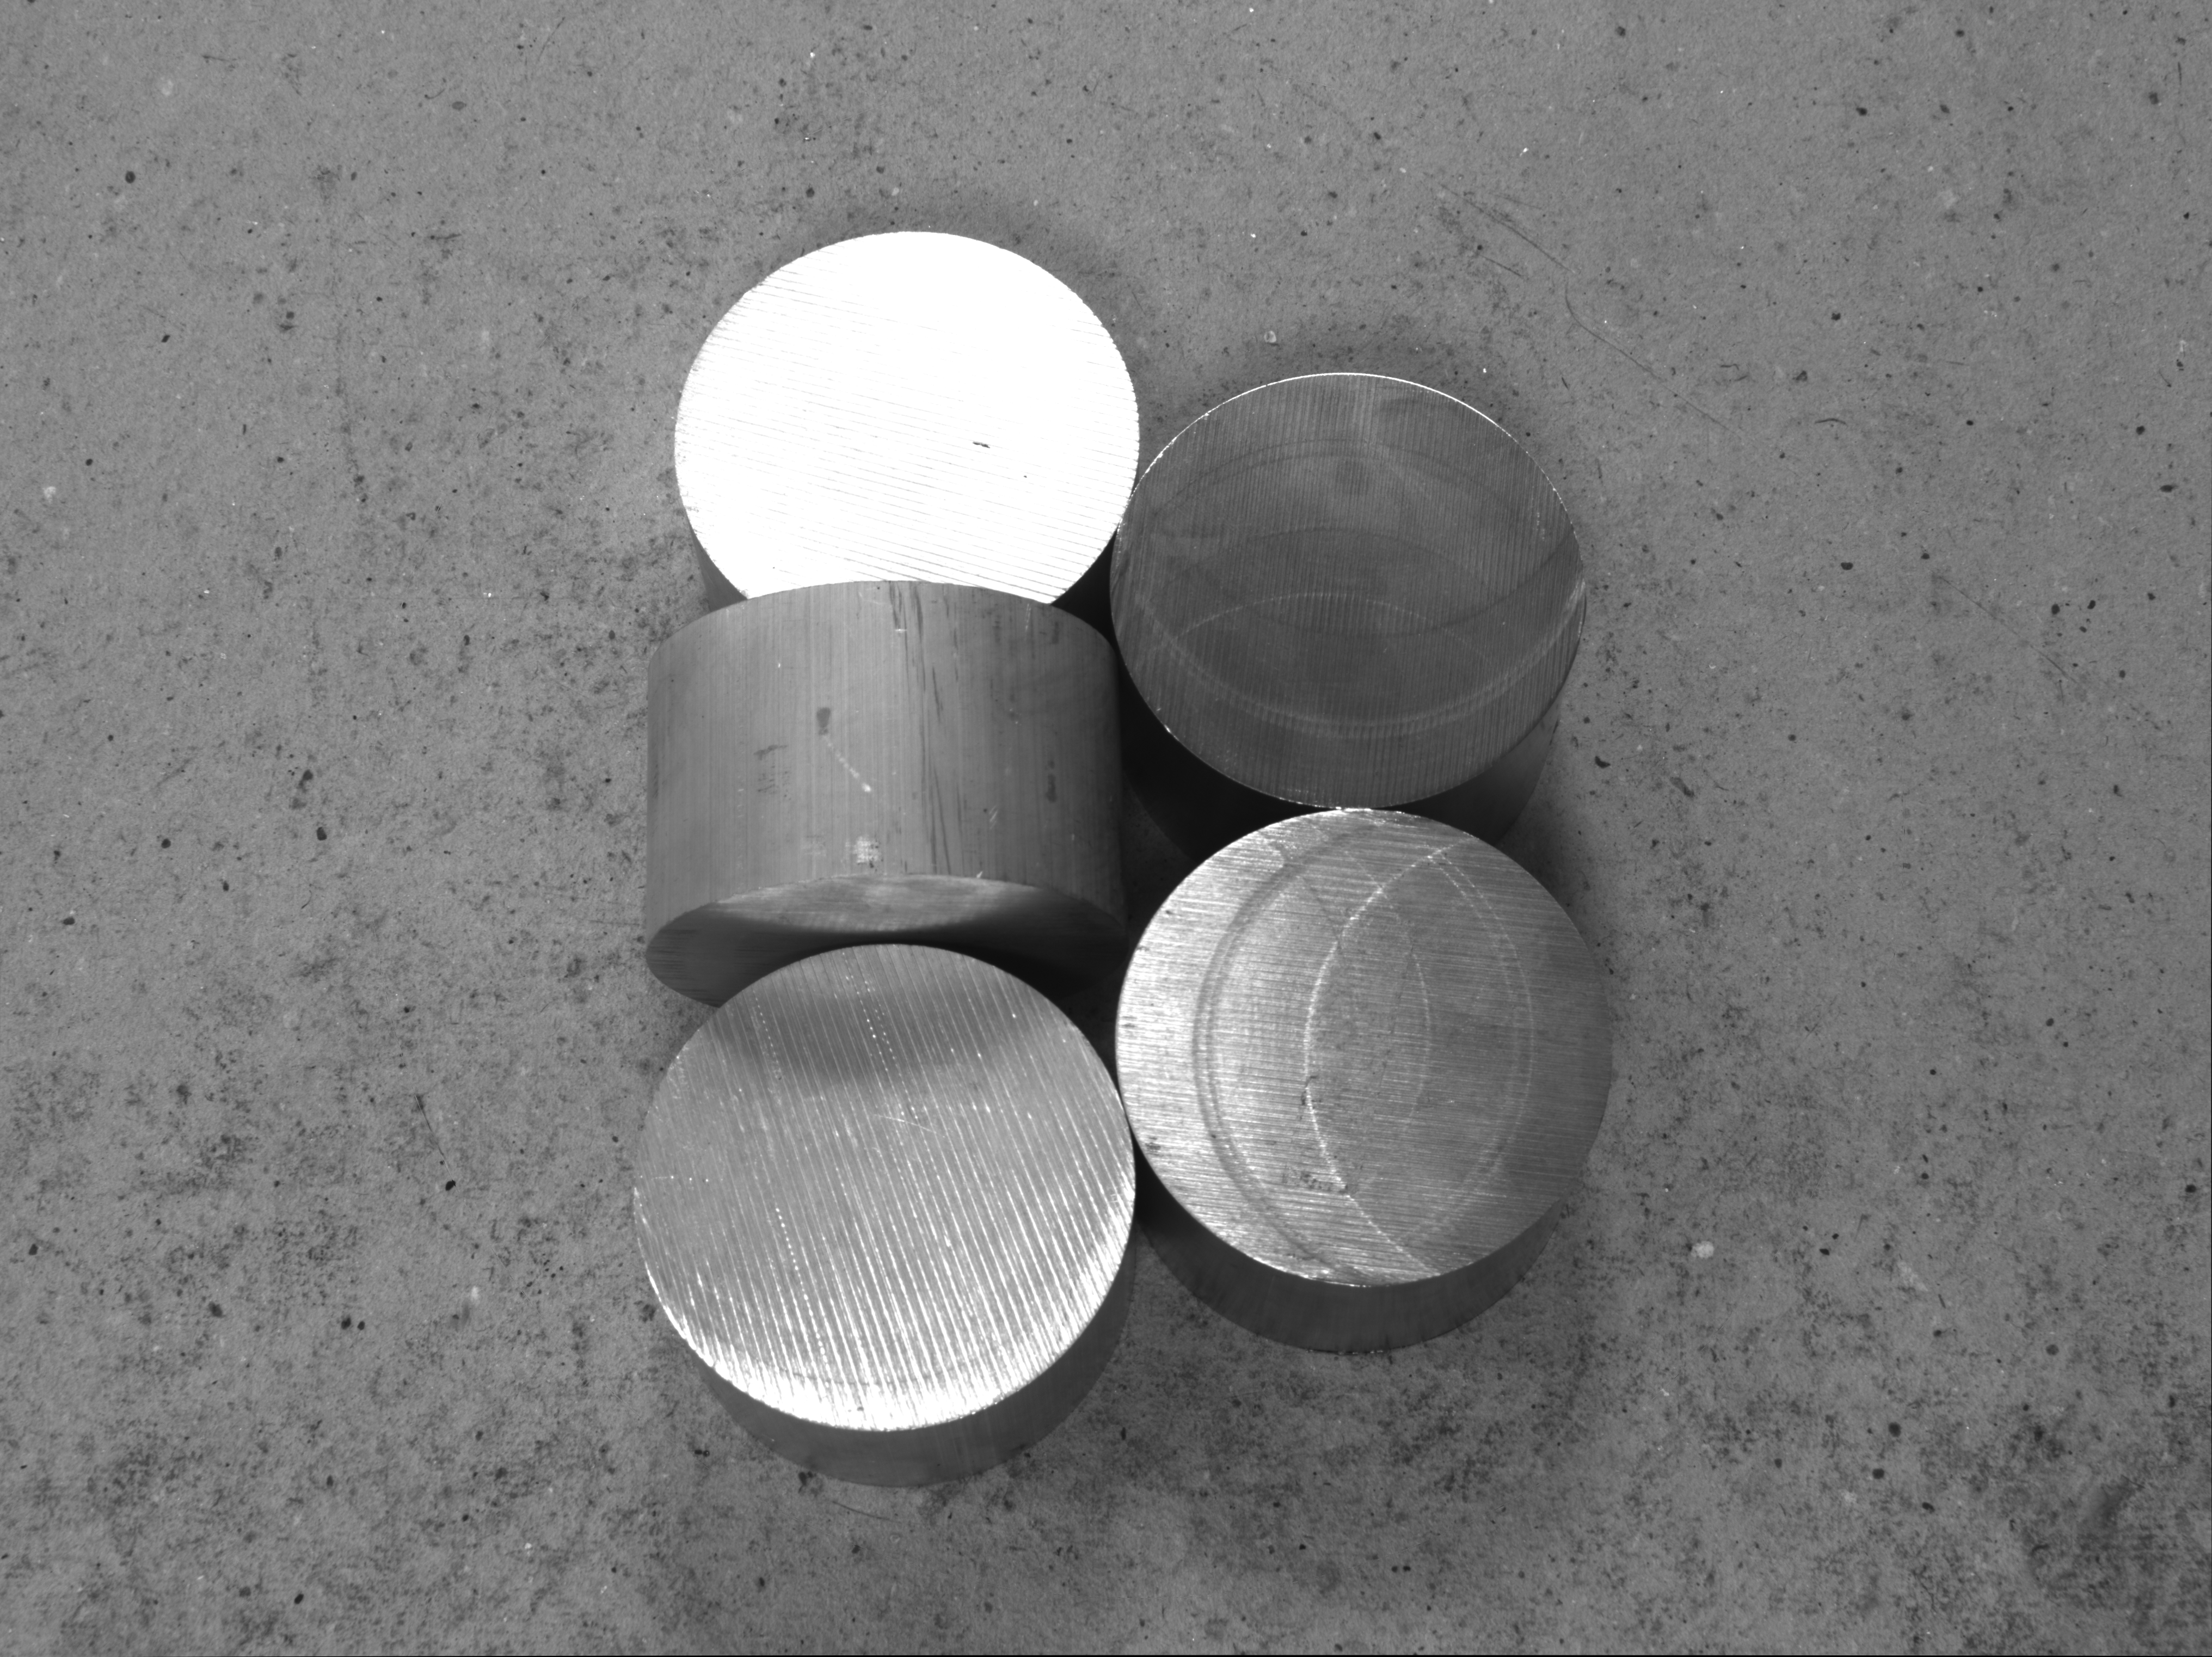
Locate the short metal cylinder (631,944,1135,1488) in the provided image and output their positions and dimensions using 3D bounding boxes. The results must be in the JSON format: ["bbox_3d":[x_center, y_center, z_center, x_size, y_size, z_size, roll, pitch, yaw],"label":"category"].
[{"bbox_3d":[-0.035,0.065,0.607,0.080,0.050,0.080,0,70,1],"label":"short metal cylinder"}]

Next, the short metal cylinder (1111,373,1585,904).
[{"bbox_3d":[0.041,-0.032,0.643,0.080,0.050,0.080,0,70,0],"label":"short metal cylinder"}]

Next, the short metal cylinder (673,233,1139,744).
[{"bbox_3d":[-0.034,-0.058,0.653,0.080,0.050,0.080,0,70,1],"label":"short metal cylinder"}]

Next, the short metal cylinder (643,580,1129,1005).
[{"bbox_3d":[-0.037,-0.003,0.616,0.080,0.080,0.050,-3,70,-1],"label":"short metal cylinder"}]

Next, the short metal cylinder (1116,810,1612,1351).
[{"bbox_3d":[0.042,0.043,0.615,0.080,0.050,0.080,0,70,1],"label":"short metal cylinder"}]
